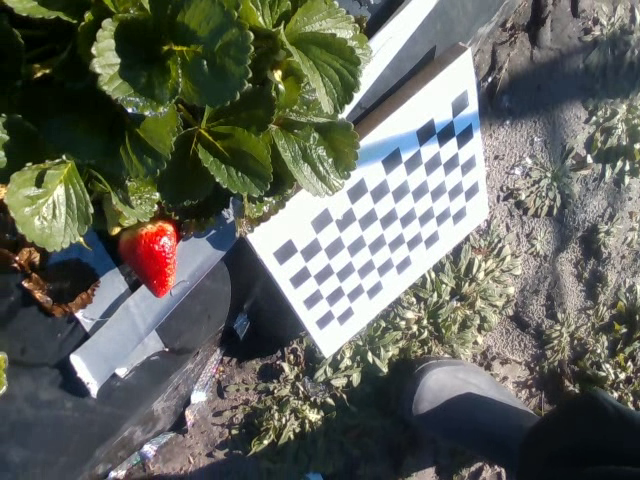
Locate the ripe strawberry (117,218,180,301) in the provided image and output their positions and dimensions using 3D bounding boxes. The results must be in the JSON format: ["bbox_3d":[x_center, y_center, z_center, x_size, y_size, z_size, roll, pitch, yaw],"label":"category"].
[{"bbox_3d":[-0.144,0.019,0.557,0.061,0.065,0.057,-18,1,-37],"label":"ripe strawberry"}]
